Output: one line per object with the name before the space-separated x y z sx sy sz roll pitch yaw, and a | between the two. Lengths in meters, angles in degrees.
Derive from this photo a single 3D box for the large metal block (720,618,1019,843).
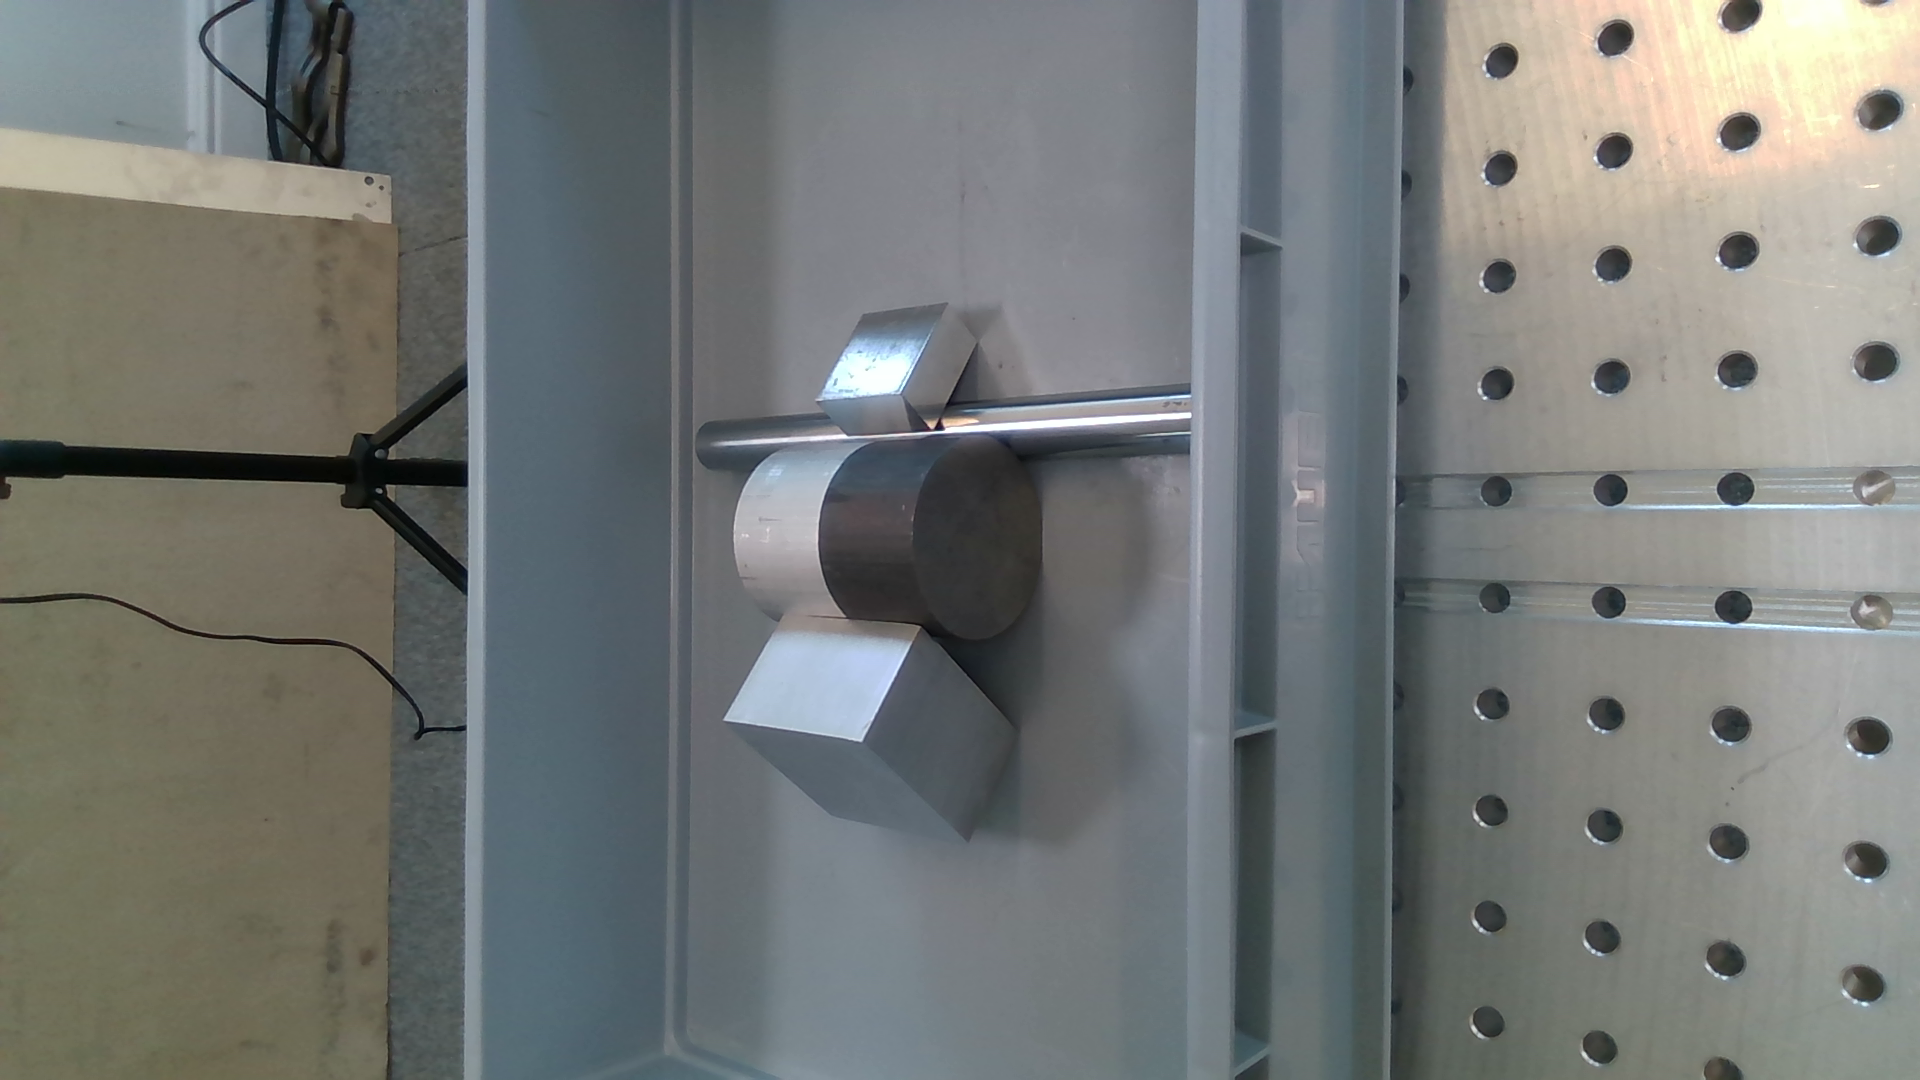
large metal block | -0.036 0.077 0.567 0.080 0.080 0.050 1 53 41

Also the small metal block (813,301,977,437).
small metal block | -0.027 -0.072 0.588 0.050 0.025 0.050 1 56 39

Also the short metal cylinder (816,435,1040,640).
short metal cylinder | -0.012 -0.001 0.554 0.050 0.080 0.080 1 91 40

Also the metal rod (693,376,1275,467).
metal rod | -0.008 -0.047 0.586 0.300 0.025 0.025 0 91 40

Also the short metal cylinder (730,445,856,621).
short metal cylinder | -0.051 -0.001 0.587 0.050 0.080 0.080 1 91 40
